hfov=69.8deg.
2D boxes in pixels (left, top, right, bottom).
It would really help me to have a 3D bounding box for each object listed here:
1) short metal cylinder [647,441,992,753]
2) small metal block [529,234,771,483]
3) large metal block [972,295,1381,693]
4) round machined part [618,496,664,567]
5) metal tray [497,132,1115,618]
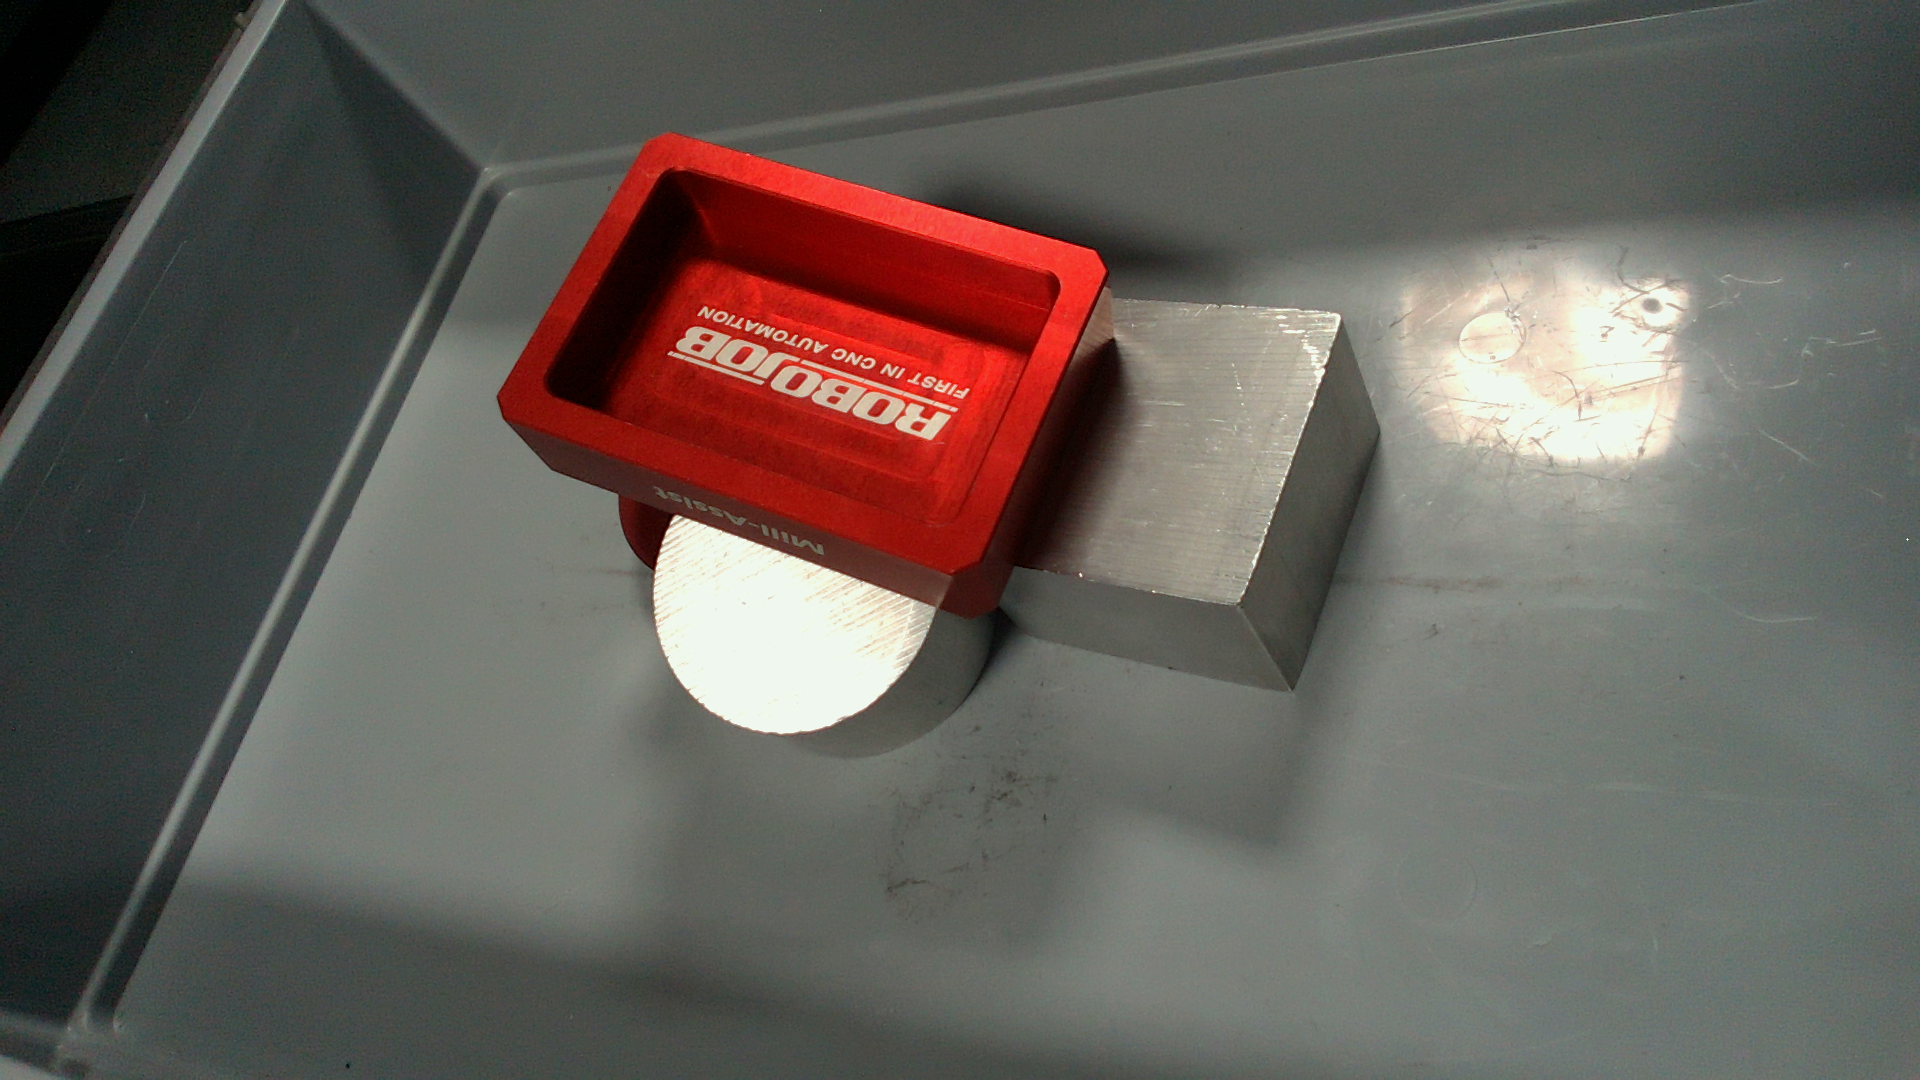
[{"bbox_3d":[-0.036,0.014,0.372,0.080,0.050,0.080,-4,74,15],"label":"short metal cylinder"},{"bbox_3d":[-0.089,-0.053,0.402,0.025,0.050,0.050,13,68,34],"label":"small metal block"},{"bbox_3d":[0.053,-0.015,0.355,0.080,0.050,0.080,10,67,33],"label":"large metal block"},{"bbox_3d":[-0.069,-0.031,0.438,0.098,0.042,0.098,-13,56,21],"label":"round machined part"},{"bbox_3d":[-0.037,-0.044,0.345,0.130,0.030,0.090,19,71,15],"label":"metal tray"}]
